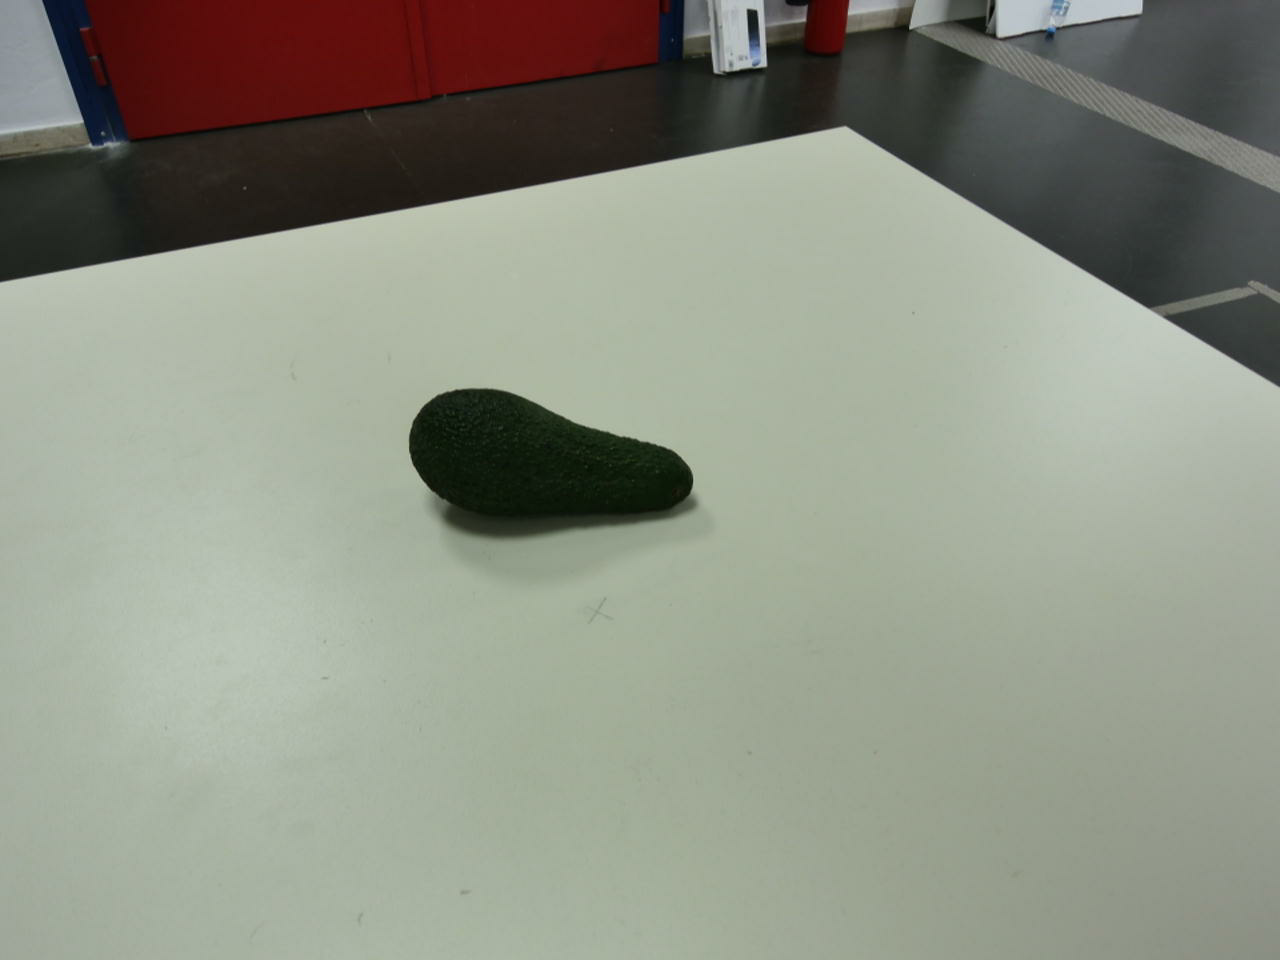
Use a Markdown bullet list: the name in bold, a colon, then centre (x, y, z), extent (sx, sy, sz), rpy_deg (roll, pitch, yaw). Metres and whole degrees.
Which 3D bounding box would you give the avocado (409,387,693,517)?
- **avocado**: centre (-0.043, -0.017, 0.500), extent (0.141, 0.067, 0.063), rpy_deg (-6, 39, -8)
